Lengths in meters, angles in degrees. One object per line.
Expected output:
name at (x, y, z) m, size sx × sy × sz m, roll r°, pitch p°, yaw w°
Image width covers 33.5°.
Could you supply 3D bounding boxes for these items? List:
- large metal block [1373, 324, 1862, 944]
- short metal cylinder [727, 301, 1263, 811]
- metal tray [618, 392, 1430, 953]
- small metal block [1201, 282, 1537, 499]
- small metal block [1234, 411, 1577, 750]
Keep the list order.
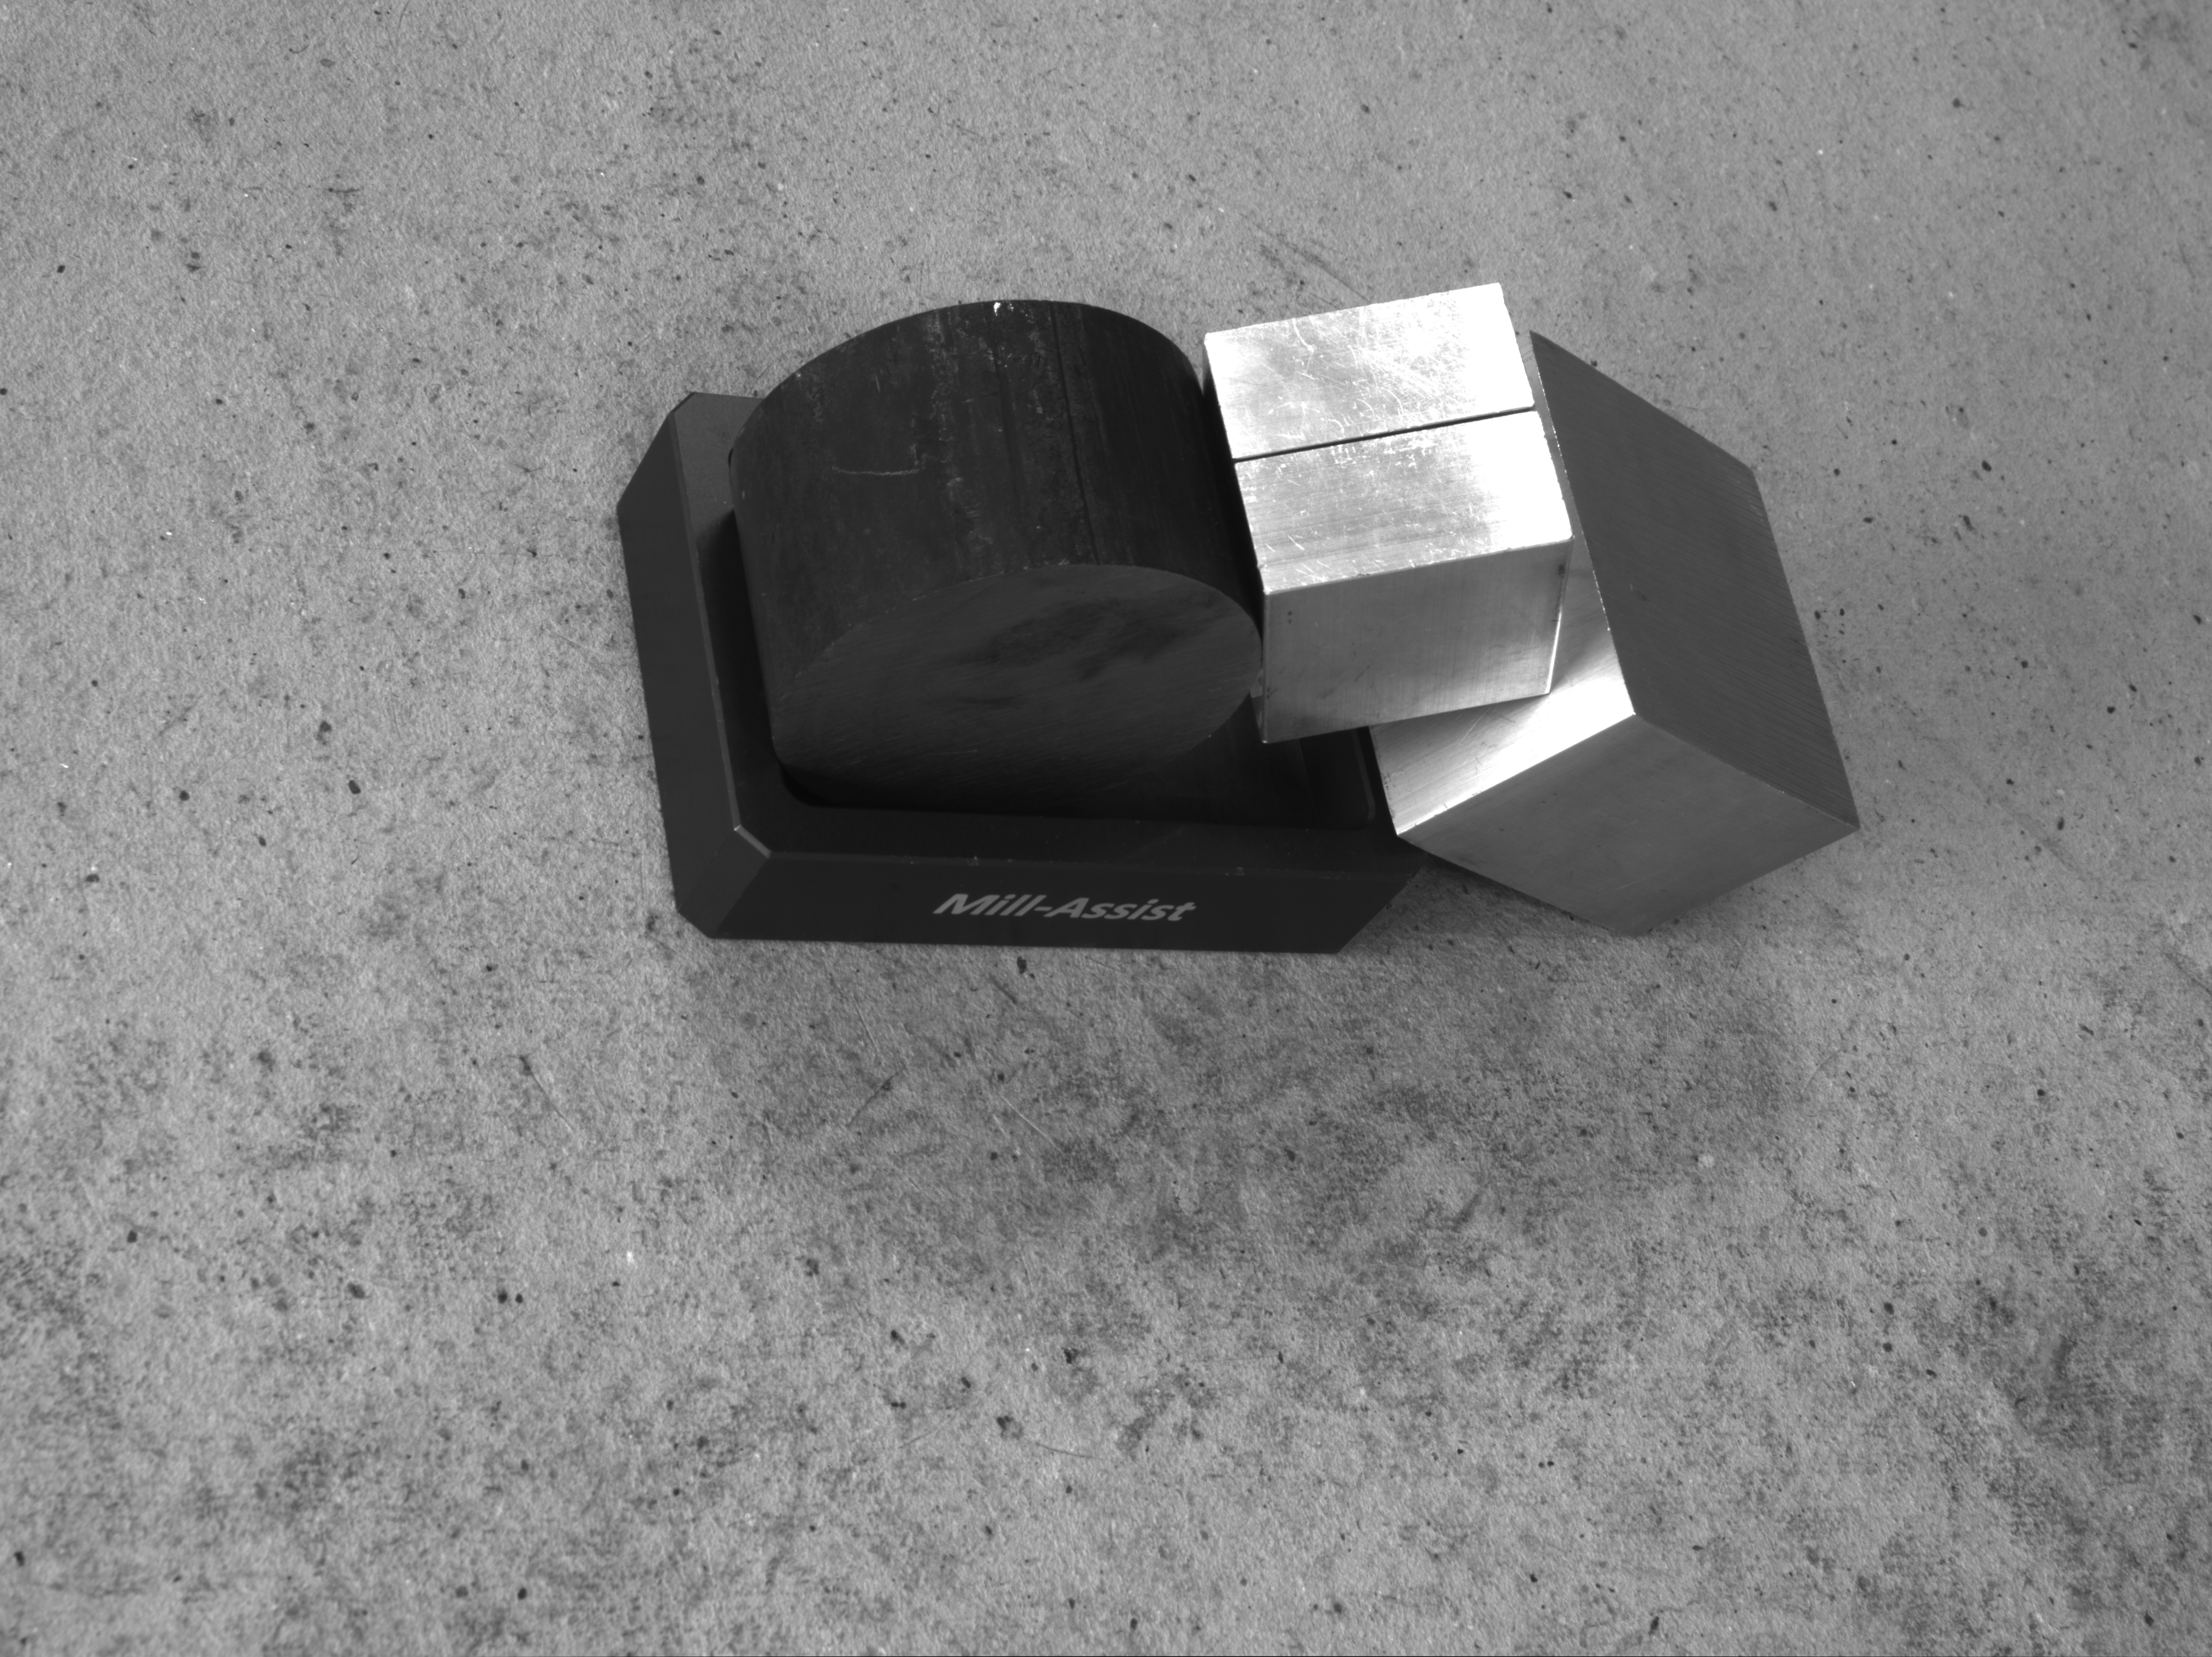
large metal block at (0.087, -0.034, 0.672) m, size 0.080 × 0.050 × 0.080 m, roll 22°, pitch 48°, yaw -48°
short metal cylinder at (-0.019, -0.043, 0.604) m, size 0.080 × 0.080 × 0.050 m, roll 1°, pitch 61°, yaw -27°
metal tray at (-0.014, -0.026, 0.644) m, size 0.130 × 0.030 × 0.090 m, roll 2°, pitch 61°, yaw -27°
small metal block at (0.043, -0.063, 0.618) m, size 0.050 × 0.050 × 0.025 m, roll -11°, pitch 63°, yaw -4°
small metal block at (0.048, -0.040, 0.606) m, size 0.050 × 0.050 × 0.025 m, roll -11°, pitch 63°, yaw -4°
